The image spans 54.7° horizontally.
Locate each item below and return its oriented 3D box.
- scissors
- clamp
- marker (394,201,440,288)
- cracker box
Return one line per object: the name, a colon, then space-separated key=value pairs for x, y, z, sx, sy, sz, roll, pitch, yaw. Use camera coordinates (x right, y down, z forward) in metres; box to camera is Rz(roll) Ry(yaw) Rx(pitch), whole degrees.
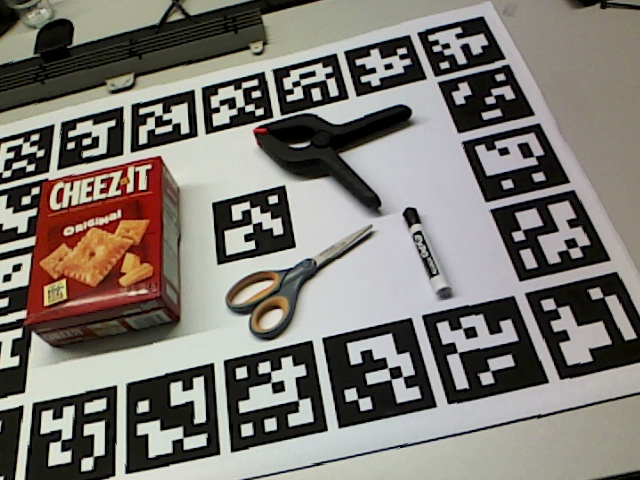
scissors: x=-0.026 y=0.033 z=0.741 sx=0.202 sy=0.016 sz=0.088 roll=-37 pitch=55 yaw=-15
clamp: x=-0.009 y=-0.127 z=0.851 sx=0.204 sy=0.036 sz=0.165 roll=12 pitch=59 yaw=19
marker: x=0.113 y=0.002 z=0.729 sx=0.019 sy=0.019 sz=0.121 roll=-17 pitch=54 yaw=1
cracker box: x=-0.270 y=0.011 z=0.782 sx=0.164 sy=0.071 sz=0.214 roll=-13 pitch=55 yaw=4
